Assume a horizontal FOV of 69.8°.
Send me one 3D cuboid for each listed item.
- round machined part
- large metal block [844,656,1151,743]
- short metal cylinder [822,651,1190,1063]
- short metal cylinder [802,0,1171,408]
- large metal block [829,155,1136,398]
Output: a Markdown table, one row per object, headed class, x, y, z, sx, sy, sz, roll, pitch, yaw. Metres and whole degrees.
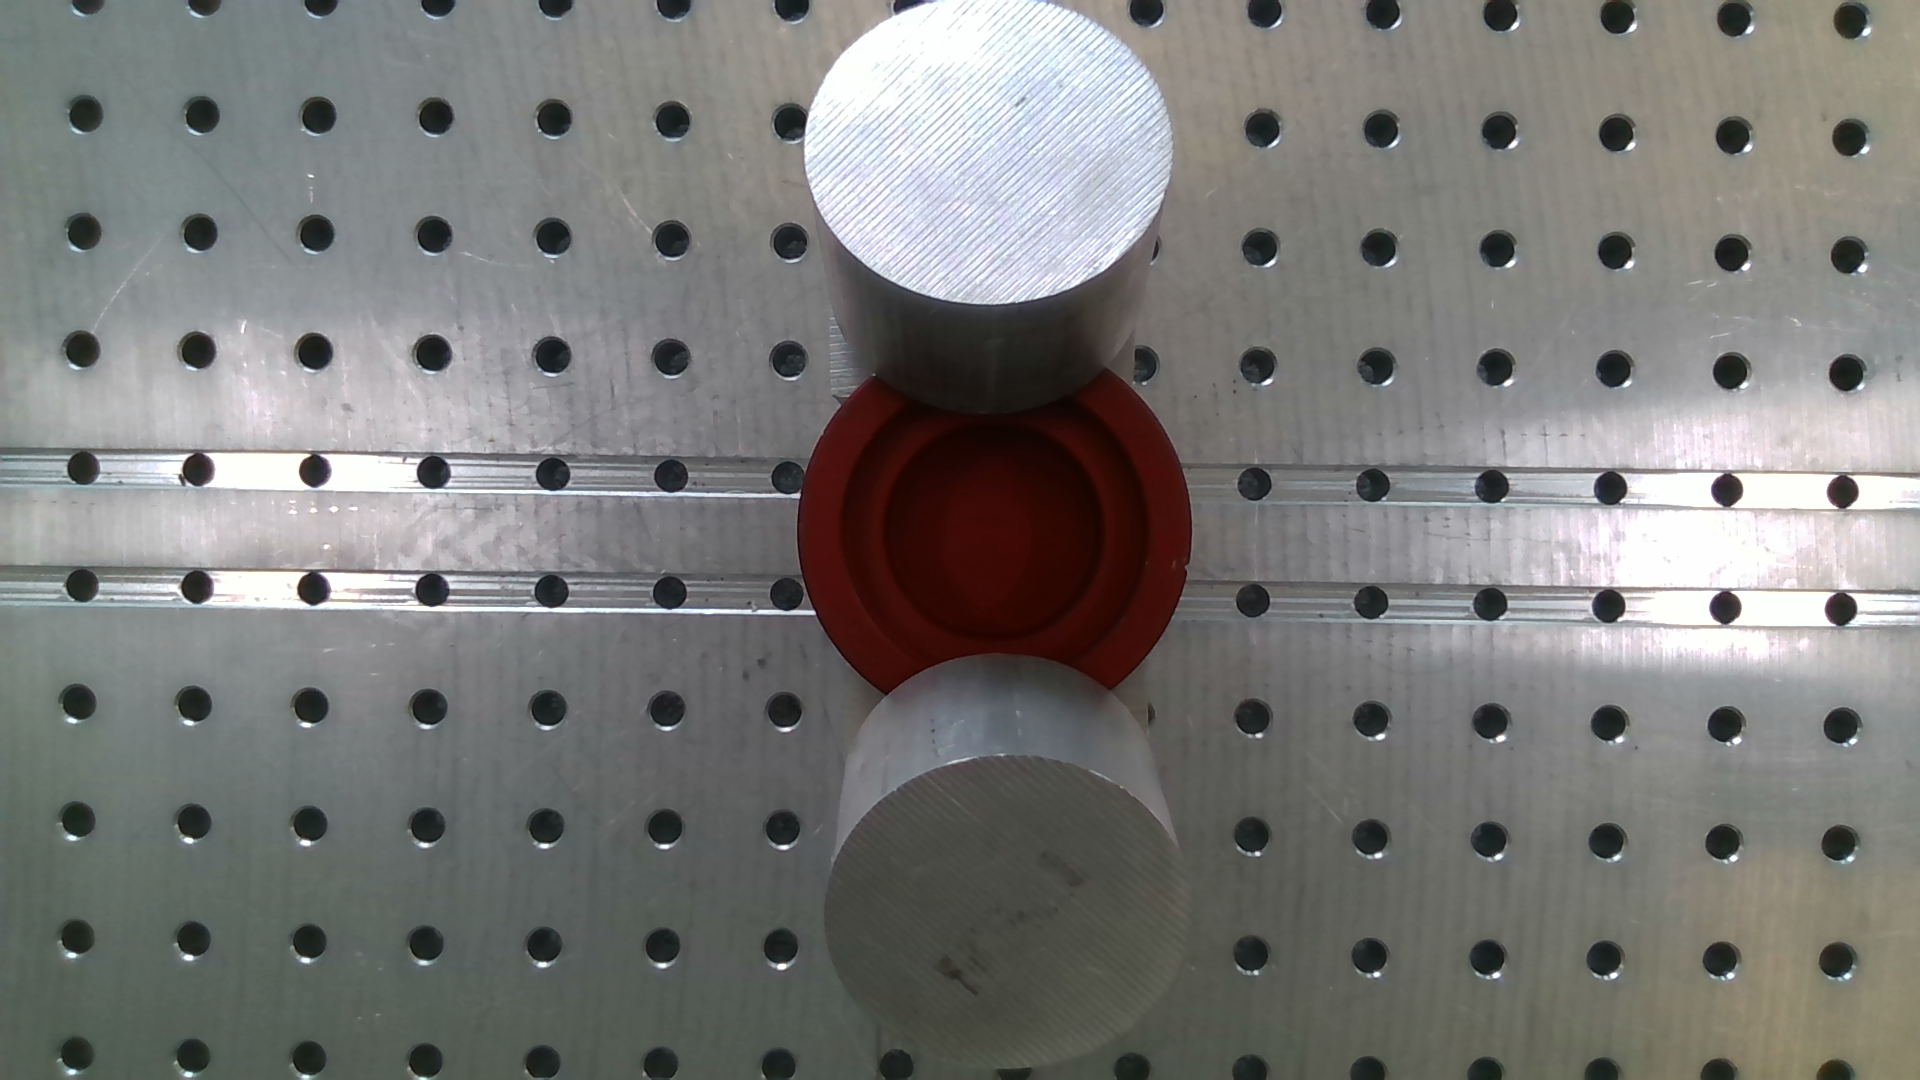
| class | x | y | z | sx | sy | sz | roll | pitch | yaw |
| --- | --- | --- | --- | --- | --- | --- | --- | --- | --- |
| round machined part | 0.009 | -0.003 | 0.360 | 0.098 | 0.042 | 0.098 | 0 | 90 | 0 |
| large metal block | 0.010 | 0.071 | 0.385 | 0.080 | 0.050 | 0.080 | -1 | 90 | 0 |
| short metal cylinder | 0.010 | 0.073 | 0.323 | 0.080 | 0.050 | 0.080 | 0 | 110 | 0 |
| short metal cylinder | 0.006 | -0.078 | 0.322 | 0.080 | 0.050 | 0.080 | 0 | 69 | 1 |
| large metal block | 0.006 | -0.078 | 0.385 | 0.080 | 0.050 | 0.080 | 1 | 90 | 0 |
